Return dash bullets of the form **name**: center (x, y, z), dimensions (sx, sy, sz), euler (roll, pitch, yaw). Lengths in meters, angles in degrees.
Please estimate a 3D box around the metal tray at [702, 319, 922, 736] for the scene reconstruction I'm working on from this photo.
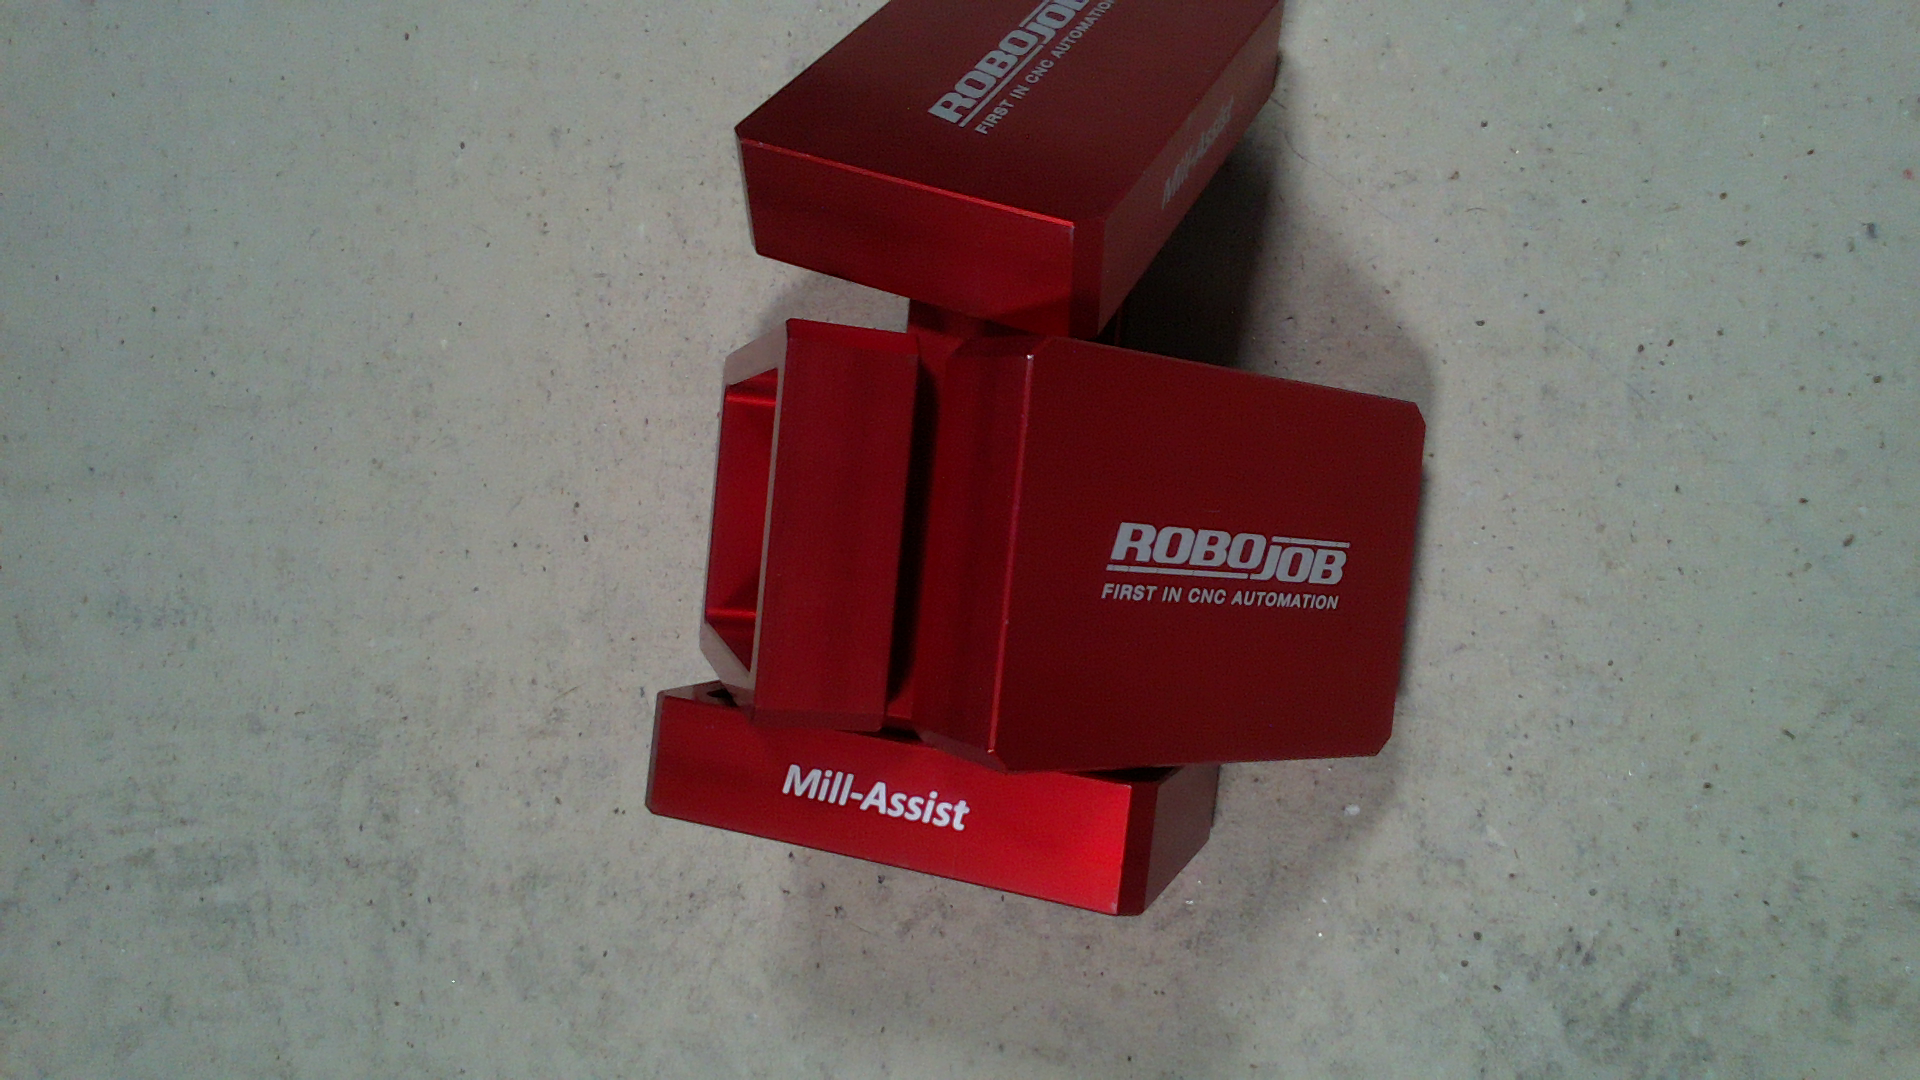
- **metal tray**: center (-0.044, -0.006, 0.360), dimensions (0.030, 0.130, 0.090), euler (5, 92, -16)

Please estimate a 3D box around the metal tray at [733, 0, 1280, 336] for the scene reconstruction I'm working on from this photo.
- **metal tray**: center (0.016, -0.107, 0.341), dimensions (0.090, 0.130, 0.030), euler (19, 137, 19)

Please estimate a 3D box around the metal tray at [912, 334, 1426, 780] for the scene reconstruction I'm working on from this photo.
- **metal tray**: center (0.054, 0.006, 0.323), dimensions (0.030, 0.131, 0.090), euler (9, 94, 53)

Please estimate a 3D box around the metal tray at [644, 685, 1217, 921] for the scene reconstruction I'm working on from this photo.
- **metal tray**: center (-0.004, 0.061, 0.363), dimensions (0.130, 0.090, 0.030), euler (7, 93, 20)

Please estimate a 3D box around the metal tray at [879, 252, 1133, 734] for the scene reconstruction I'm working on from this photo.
- **metal tray**: center (0.014, -0.018, 0.356), dimensions (0.030, 0.090, 0.130), euler (7, 93, 20)
